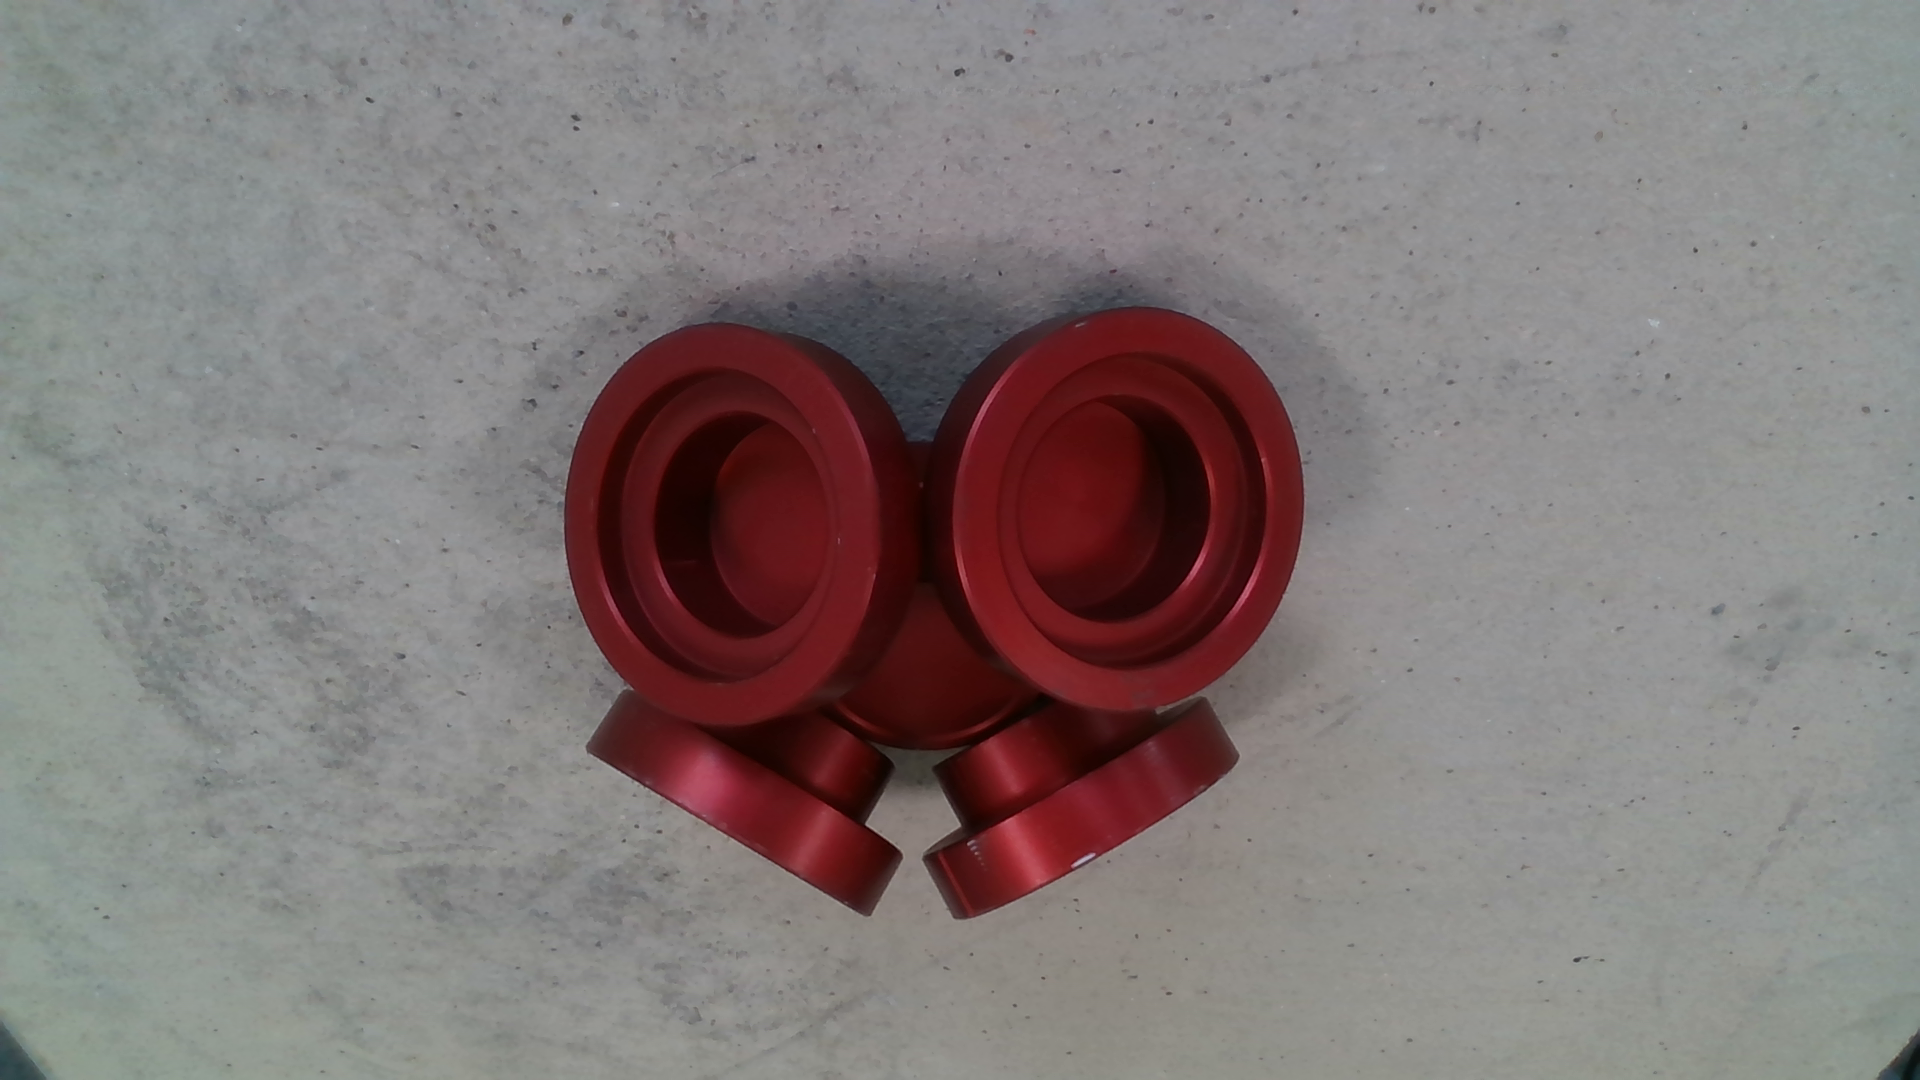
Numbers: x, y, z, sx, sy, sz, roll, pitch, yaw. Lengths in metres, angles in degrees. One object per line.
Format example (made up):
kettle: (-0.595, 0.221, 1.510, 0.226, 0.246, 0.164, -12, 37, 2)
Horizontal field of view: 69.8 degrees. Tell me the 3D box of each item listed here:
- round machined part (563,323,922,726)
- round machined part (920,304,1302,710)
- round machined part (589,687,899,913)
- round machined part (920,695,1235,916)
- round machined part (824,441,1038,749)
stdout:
round machined part: (-0.051, -0.004, 0.352, 0.098, 0.098, 0.042, -36, 165, 26)
round machined part: (0.035, -0.009, 0.350, 0.098, 0.042, 0.098, -3, 97, -24)
round machined part: (-0.059, 0.069, 0.416, 0.098, 0.042, 0.098, 29, 165, 8)
round machined part: (0.030, 0.070, 0.414, 0.098, 0.098, 0.042, -33, 82, 25)
round machined part: (-0.010, 0.023, 0.397, 0.098, 0.042, 0.098, -1, 131, -1)
